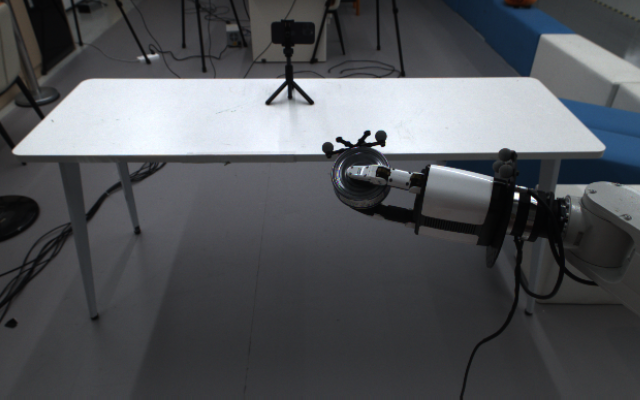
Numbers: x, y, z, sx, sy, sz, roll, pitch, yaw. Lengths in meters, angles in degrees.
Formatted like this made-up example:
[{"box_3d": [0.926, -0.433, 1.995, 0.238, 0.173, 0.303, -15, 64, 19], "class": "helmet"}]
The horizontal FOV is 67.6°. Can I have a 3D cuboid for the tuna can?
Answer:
[{"box_3d": [0.063, -0.027, 0.687, 0.085, 0.034, 0.085, -4, 68, 9], "class": "tuna can"}]
